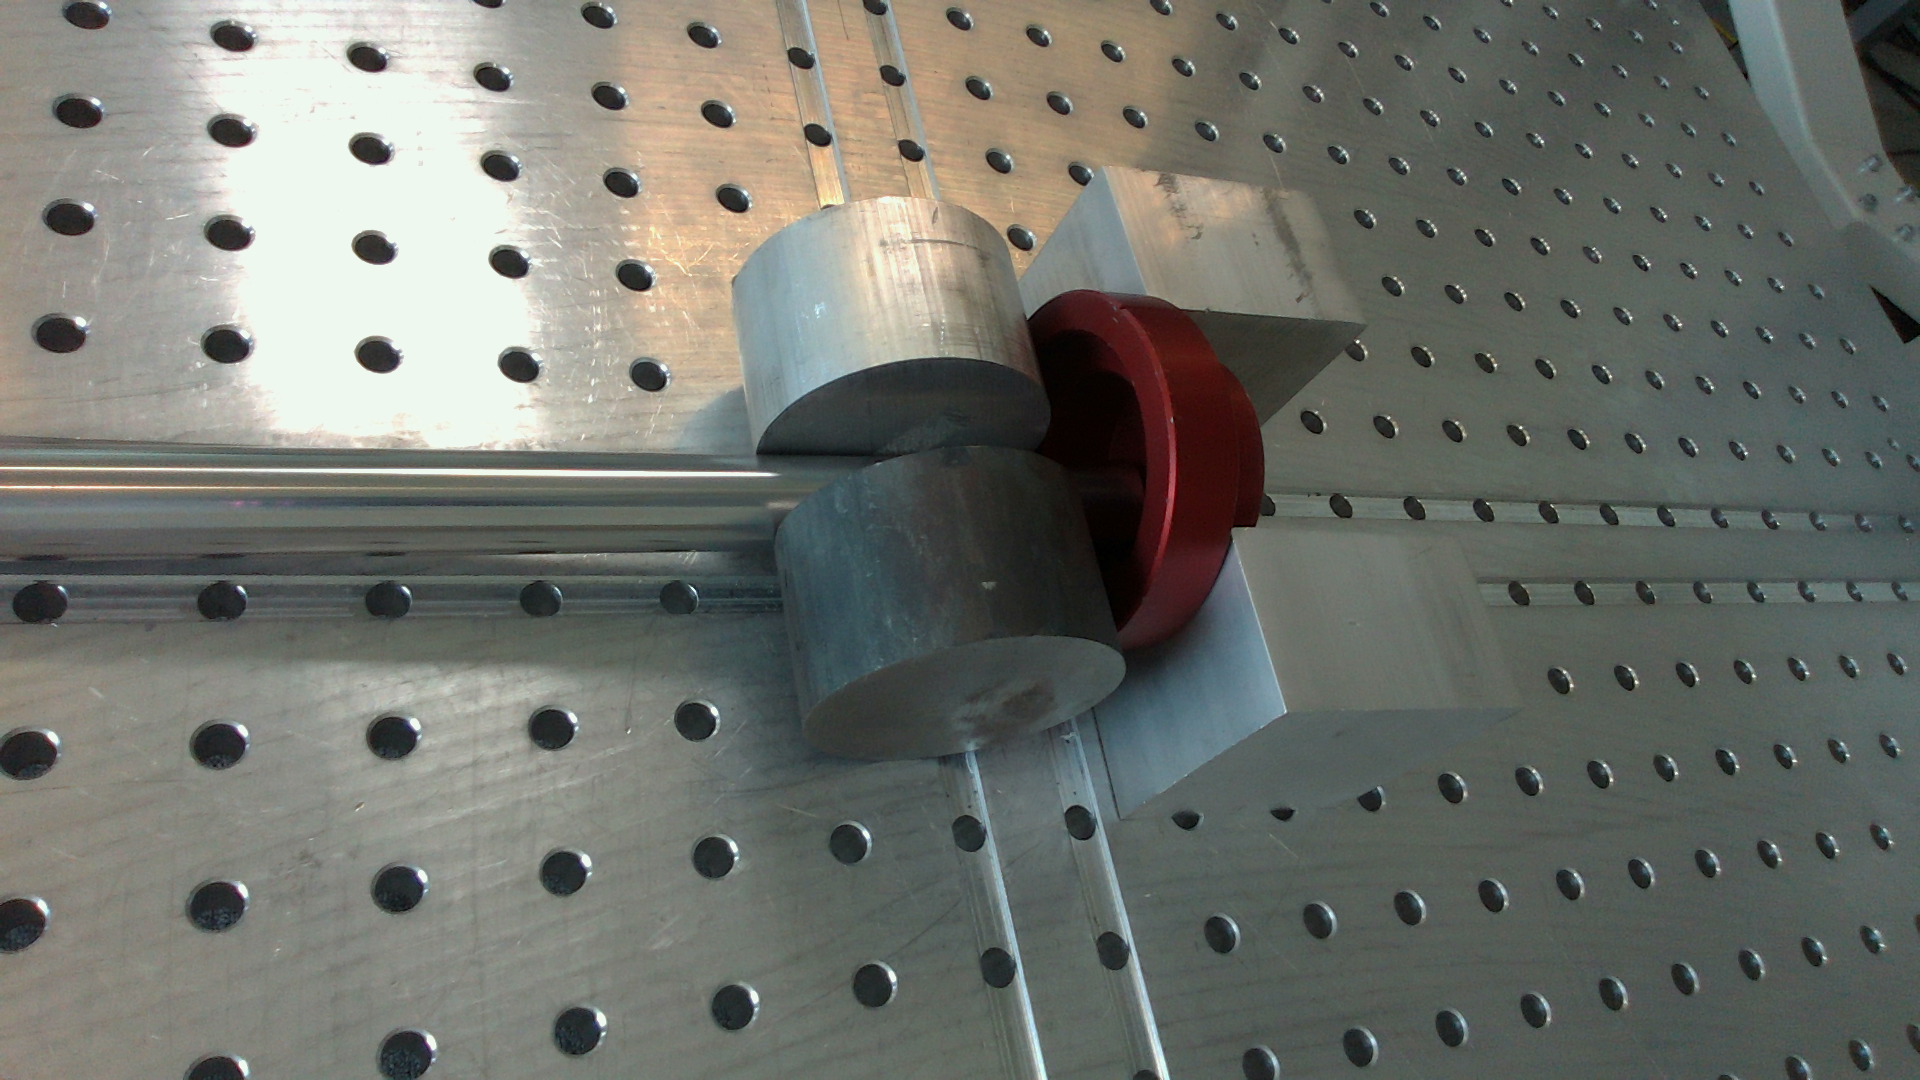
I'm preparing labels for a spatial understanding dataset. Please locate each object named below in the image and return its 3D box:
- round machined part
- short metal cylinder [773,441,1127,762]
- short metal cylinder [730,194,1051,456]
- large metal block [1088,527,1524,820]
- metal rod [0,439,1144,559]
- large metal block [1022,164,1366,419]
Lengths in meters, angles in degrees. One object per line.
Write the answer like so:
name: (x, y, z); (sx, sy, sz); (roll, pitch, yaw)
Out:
round machined part: (0.047, -0.019, 0.382); (0.042, 0.098, 0.098); (1, 61, -28)
short metal cylinder: (-0.003, 0.018, 0.344); (0.080, 0.080, 0.050); (1, 61, -27)
short metal cylinder: (-0.020, -0.048, 0.376); (0.080, 0.080, 0.050); (1, 62, -28)
large metal block: (0.091, 0.039, 0.383); (0.080, 0.080, 0.050); (3, 60, -27)
metal rod: (-0.091, -0.009, 0.334); (0.301, 0.025, 0.025); (0, 62, -24)
large metal block: (0.064, -0.067, 0.434); (0.080, 0.080, 0.050); (0, 62, -28)
